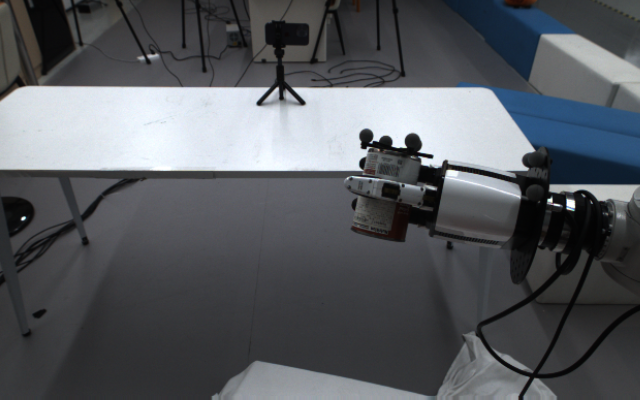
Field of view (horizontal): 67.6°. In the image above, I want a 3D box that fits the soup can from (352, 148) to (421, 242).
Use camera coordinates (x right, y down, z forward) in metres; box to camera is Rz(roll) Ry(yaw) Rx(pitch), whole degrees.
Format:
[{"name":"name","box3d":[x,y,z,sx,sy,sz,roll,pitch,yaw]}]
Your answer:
[{"name":"soup can","box3d":[0.082,-0.006,0.587,0.067,0.101,0.067,11,2,0]}]
